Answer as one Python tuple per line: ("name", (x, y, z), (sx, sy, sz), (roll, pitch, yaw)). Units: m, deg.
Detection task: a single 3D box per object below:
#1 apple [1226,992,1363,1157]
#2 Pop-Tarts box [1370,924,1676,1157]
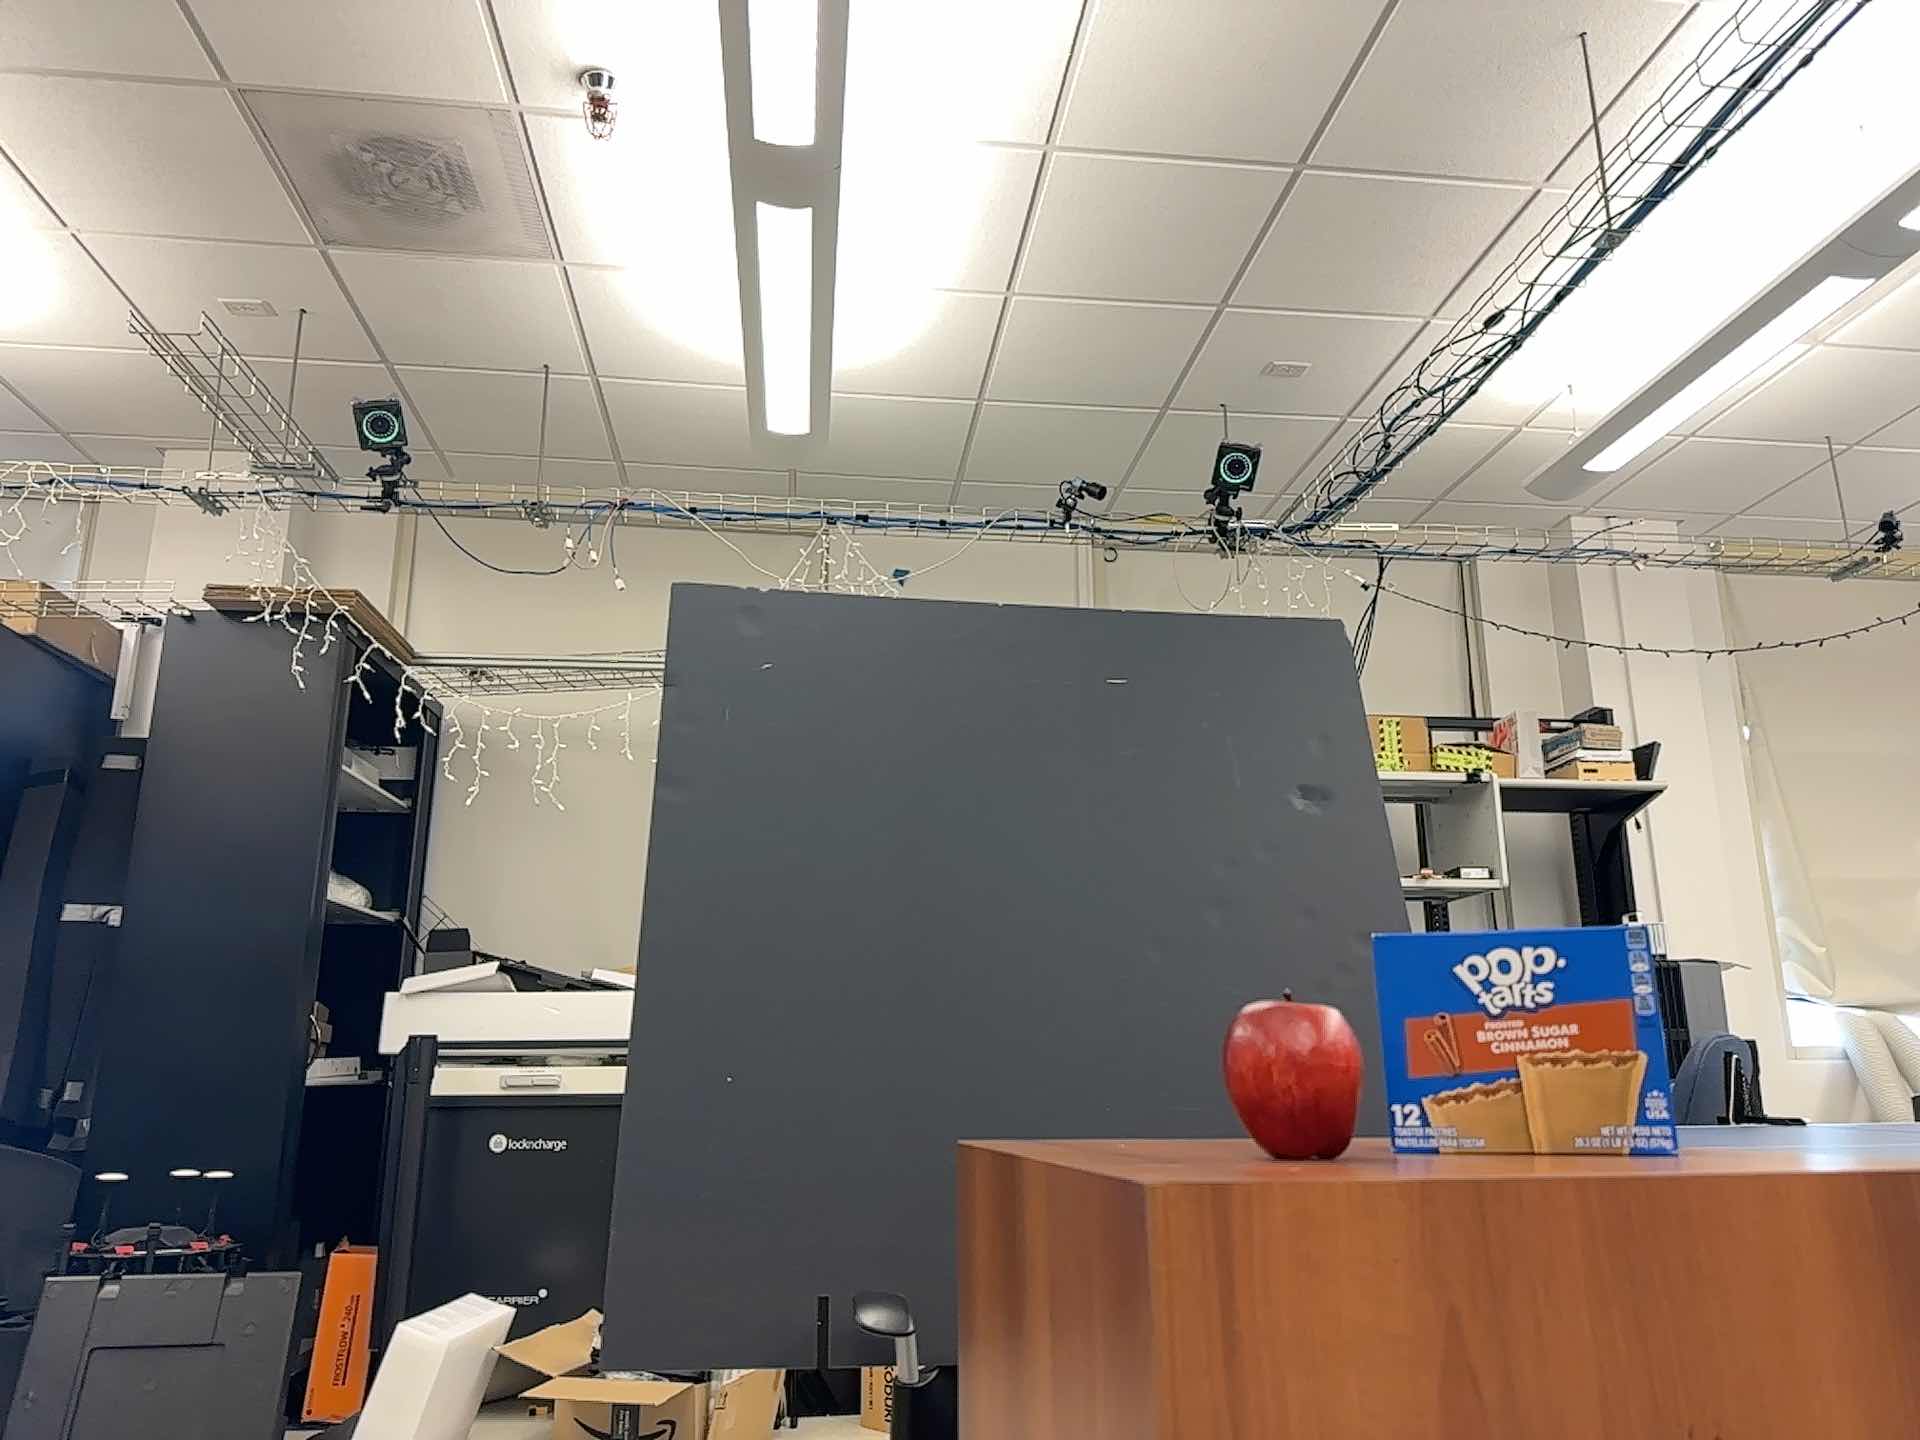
("apple", (0.197, 0.208, 0.793), (0.079, 0.093, 0.079), (1, -14, 0))
("Pop-Tarts box", (0.364, 0.211, 0.879), (0.161, 0.135, 0.075), (-6, -17, 21))
